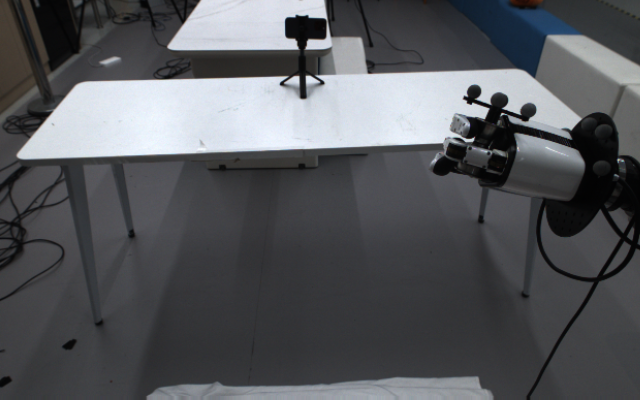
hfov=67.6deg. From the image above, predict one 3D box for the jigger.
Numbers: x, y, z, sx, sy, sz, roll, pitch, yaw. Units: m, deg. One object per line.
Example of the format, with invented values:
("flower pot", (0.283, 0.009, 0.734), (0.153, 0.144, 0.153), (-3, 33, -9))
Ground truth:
("jigger", (0.201, -0.065, 0.609), (0.043, 0.071, 0.043), (18, 17, -6))
